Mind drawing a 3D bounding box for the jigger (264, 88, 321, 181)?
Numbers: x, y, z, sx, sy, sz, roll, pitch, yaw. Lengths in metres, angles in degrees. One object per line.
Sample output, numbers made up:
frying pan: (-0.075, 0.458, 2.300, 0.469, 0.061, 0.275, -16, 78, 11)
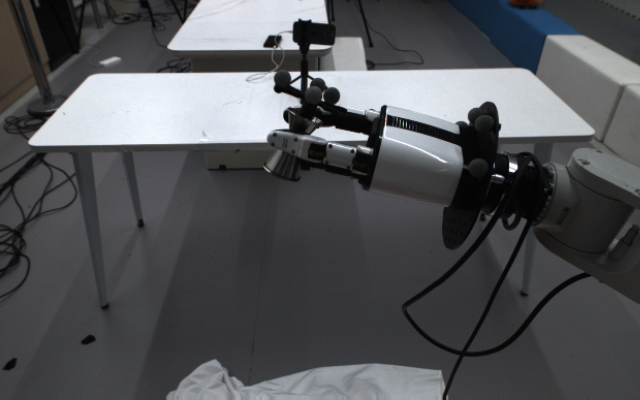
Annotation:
jigger: (-0.029, -0.059, 0.515, 0.043, 0.071, 0.043, 23, 19, -8)
